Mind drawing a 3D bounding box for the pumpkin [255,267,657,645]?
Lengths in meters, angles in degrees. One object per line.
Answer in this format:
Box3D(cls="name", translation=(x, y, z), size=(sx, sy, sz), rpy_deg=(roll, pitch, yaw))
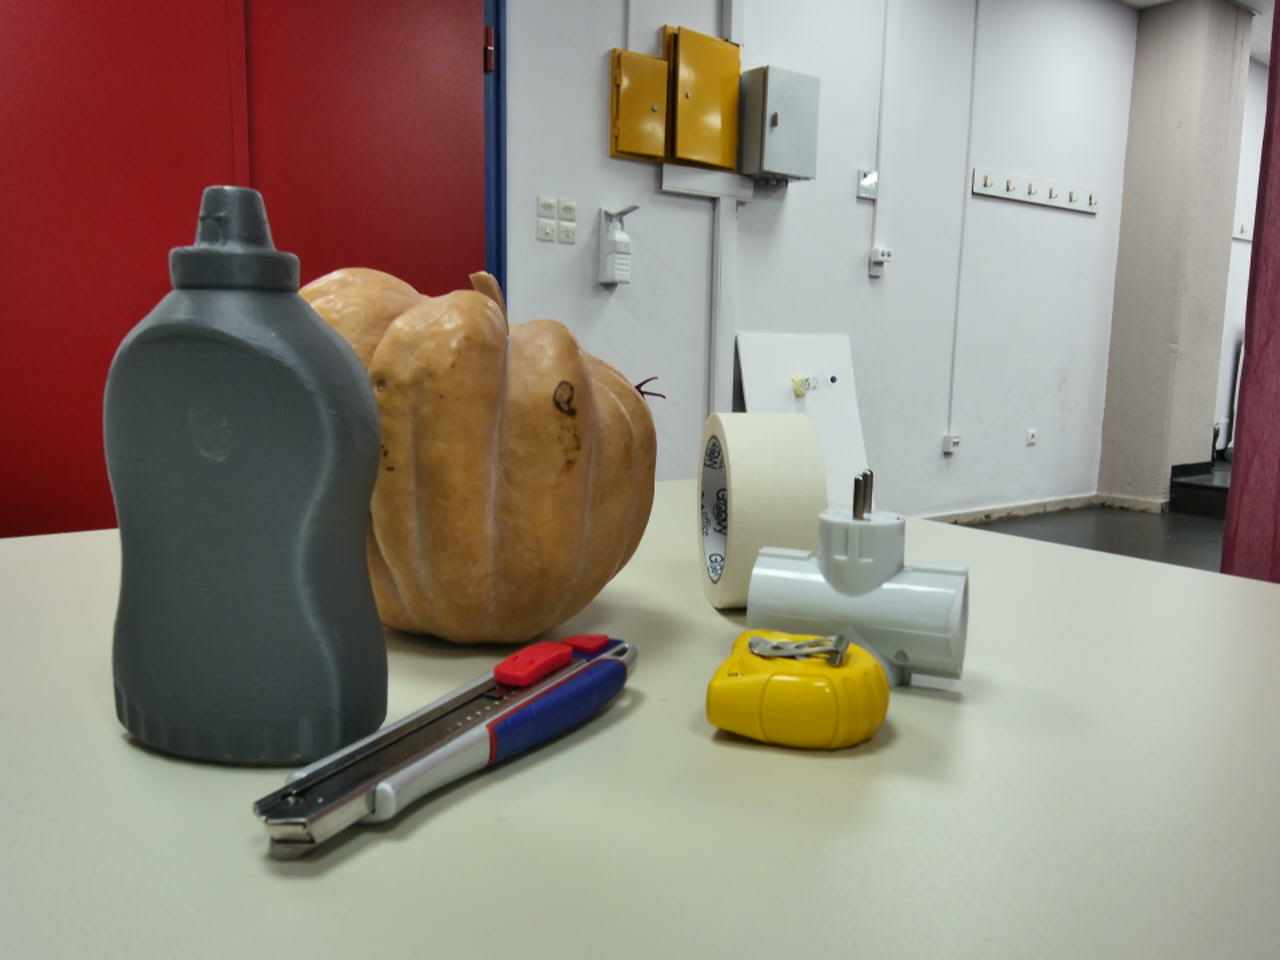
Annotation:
Box3D(cls="pumpkin", translation=(-0.088, -0.012, 0.491), size=(0.199, 0.177, 0.198), rpy_deg=(1, 6, 0))
